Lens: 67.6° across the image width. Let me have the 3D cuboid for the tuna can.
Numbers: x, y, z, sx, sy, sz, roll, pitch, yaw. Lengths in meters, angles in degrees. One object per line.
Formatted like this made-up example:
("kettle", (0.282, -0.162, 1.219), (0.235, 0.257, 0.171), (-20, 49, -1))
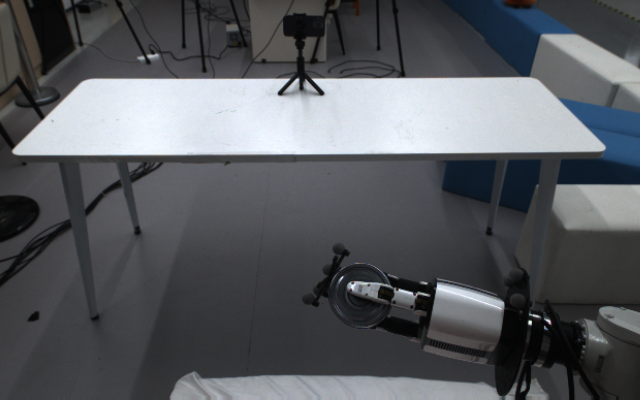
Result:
("tuna can", (0.058, 0.126, 0.647), (0.085, 0.034, 0.085), (-2, 71, 5))
